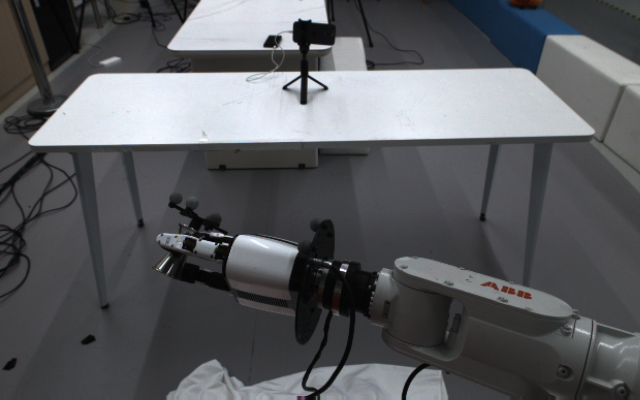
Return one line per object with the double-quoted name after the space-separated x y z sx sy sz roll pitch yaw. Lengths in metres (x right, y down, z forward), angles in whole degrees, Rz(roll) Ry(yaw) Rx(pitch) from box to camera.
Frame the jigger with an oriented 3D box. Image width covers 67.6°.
-0.188 0.068 0.644 0.043 0.043 0.071 20 74 24 "jigger"
